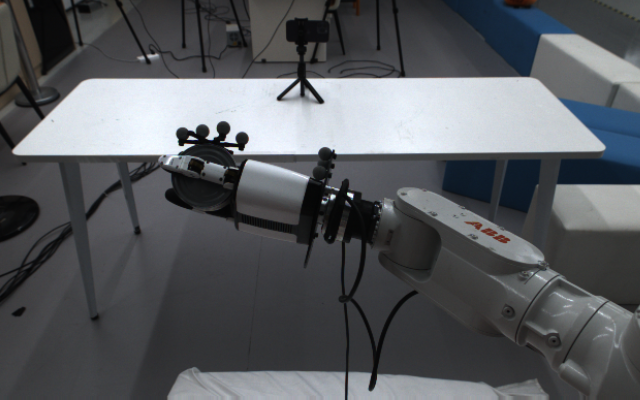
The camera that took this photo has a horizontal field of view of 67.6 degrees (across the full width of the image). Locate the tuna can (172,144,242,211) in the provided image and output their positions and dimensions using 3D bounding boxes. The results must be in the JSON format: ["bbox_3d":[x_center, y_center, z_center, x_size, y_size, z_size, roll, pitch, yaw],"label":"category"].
[{"bbox_3d":[-0.148,-0.028,0.638,0.085,0.034,0.085,0,77,-2],"label":"tuna can"}]
